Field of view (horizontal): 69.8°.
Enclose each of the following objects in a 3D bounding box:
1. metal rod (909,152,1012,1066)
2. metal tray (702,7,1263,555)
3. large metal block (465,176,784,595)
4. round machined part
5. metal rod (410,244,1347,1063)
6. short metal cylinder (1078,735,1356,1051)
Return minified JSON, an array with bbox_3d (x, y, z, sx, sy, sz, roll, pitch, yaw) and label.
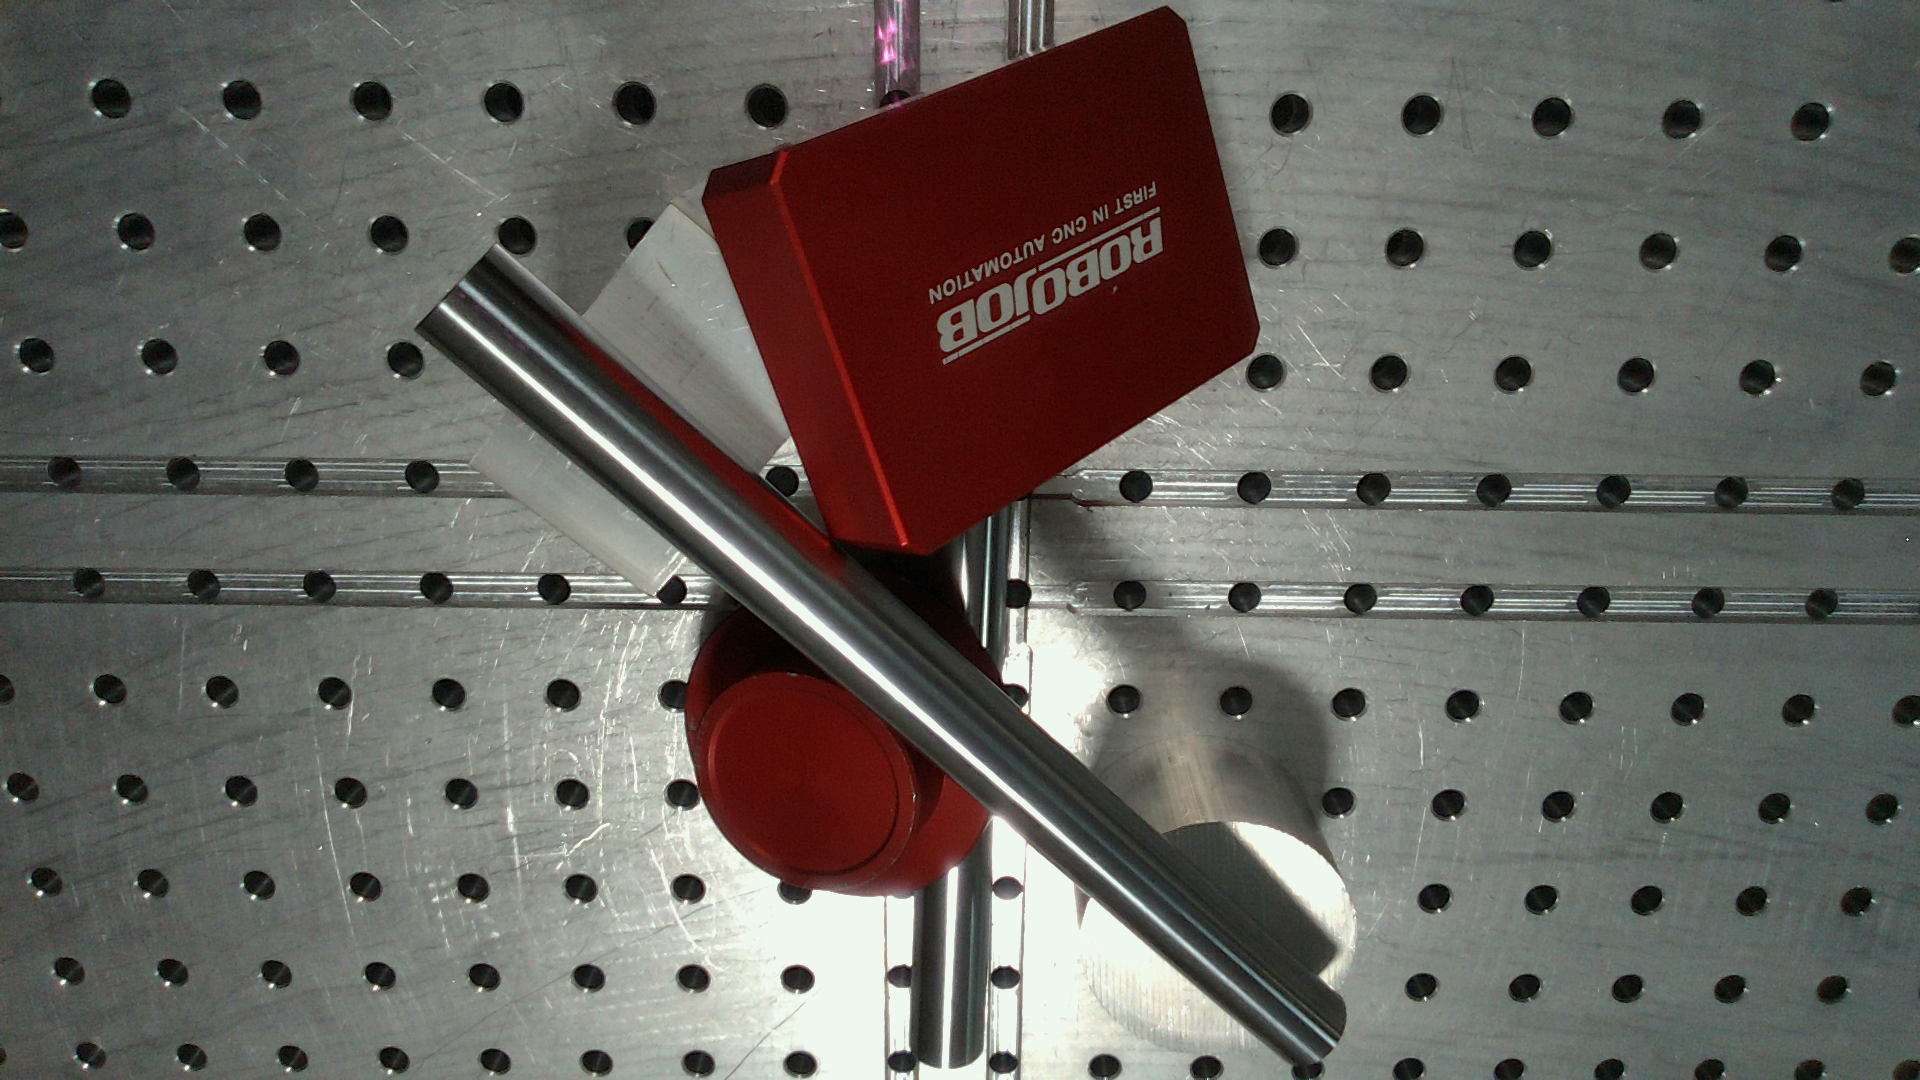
[{"bbox_3d":[0.001,0.026,0.406,0.025,0.025,0.300,2,110,-1],"label":"metal rod"},{"bbox_3d":[0.013,-0.064,0.328,0.130,0.030,0.090,-32,113,-33],"label":"metal tray"},{"bbox_3d":[-0.069,-0.044,0.351,0.050,0.080,0.080,39,106,-13],"label":"large metal block"},{"bbox_3d":[-0.036,0.061,0.393,0.098,0.042,0.098,6,111,16],"label":"round machined part"},{"bbox_3d":[-0.002,0.043,0.337,0.025,0.025,0.301,-41,113,14],"label":"metal rod"},{"bbox_3d":[0.075,0.108,0.424,0.080,0.050,0.080,0,110,0],"label":"short metal cylinder"}]
